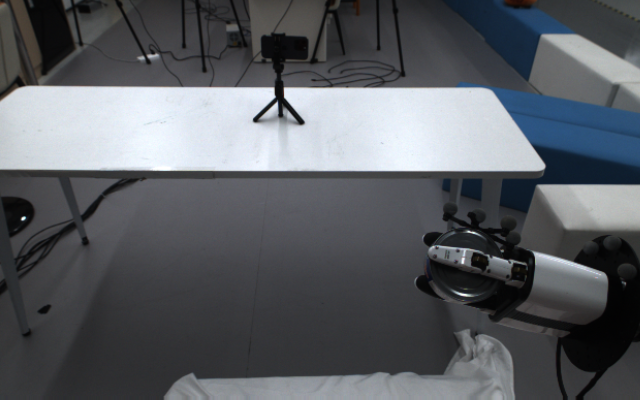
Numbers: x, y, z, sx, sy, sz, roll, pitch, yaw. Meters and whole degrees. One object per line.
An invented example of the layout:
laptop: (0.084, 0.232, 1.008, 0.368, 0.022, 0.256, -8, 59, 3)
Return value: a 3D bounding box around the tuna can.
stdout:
tuna can: (0.168, 0.074, 0.561, 0.085, 0.034, 0.085, 0, 70, 0)
